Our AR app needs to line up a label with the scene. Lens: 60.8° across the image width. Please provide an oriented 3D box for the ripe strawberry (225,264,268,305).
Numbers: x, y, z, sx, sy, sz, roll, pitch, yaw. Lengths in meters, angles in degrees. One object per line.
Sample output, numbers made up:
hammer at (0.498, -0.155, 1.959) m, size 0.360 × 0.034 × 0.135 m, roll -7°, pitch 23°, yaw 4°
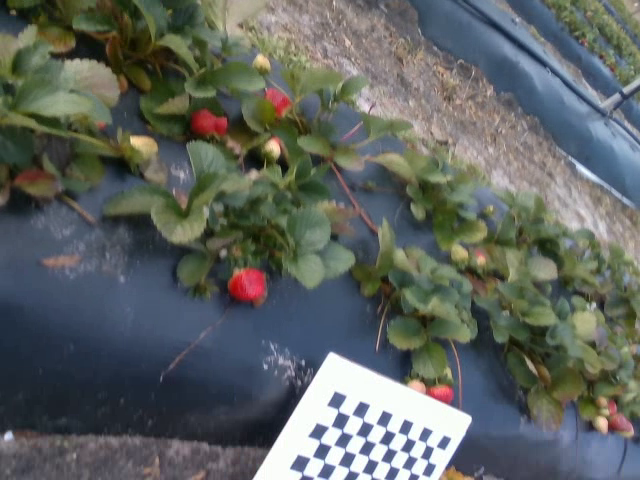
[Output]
ripe strawberry at (-0.100, 0.062, 0.718) m, size 0.050 × 0.049 × 0.053 m, roll 22°, pitch 15°, yaw -34°
